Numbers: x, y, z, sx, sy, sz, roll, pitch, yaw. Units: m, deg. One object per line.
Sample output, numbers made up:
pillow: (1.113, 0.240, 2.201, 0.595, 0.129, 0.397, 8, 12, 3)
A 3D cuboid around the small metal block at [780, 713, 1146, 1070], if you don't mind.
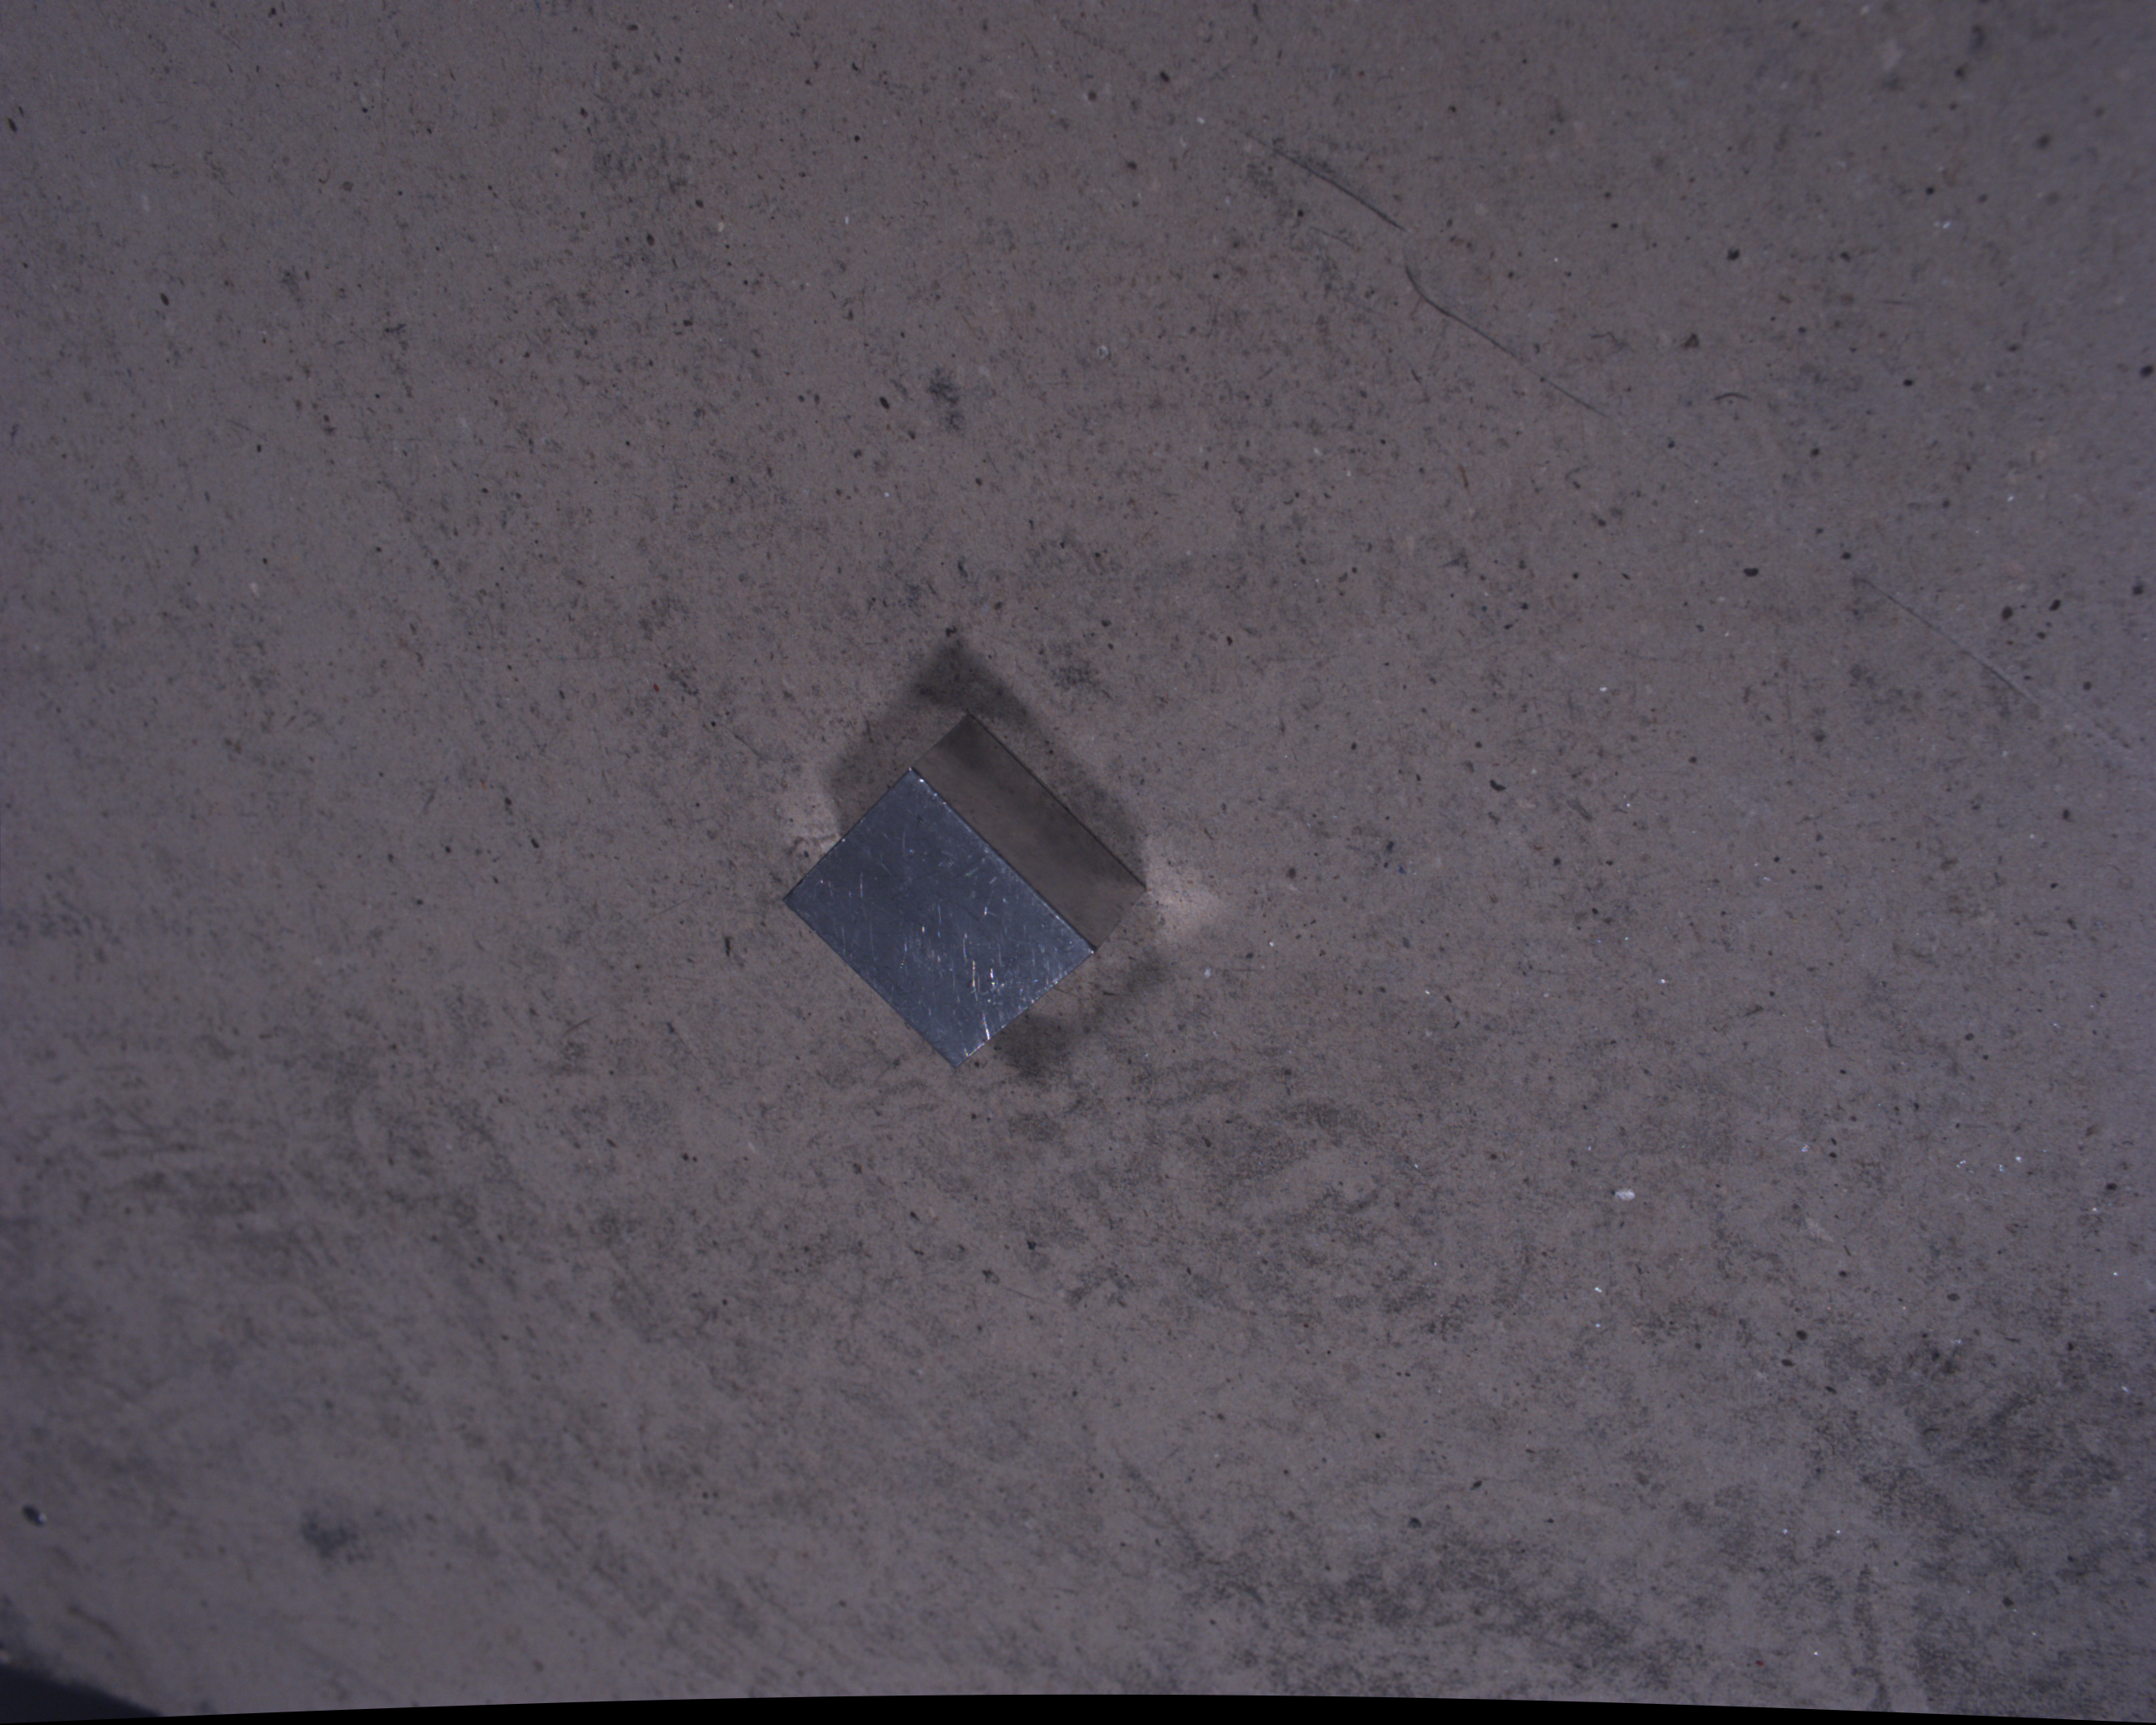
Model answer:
small metal block: (-0.024, 0.007, 0.423, 0.050, 0.025, 0.050, 45, 129, -4)
